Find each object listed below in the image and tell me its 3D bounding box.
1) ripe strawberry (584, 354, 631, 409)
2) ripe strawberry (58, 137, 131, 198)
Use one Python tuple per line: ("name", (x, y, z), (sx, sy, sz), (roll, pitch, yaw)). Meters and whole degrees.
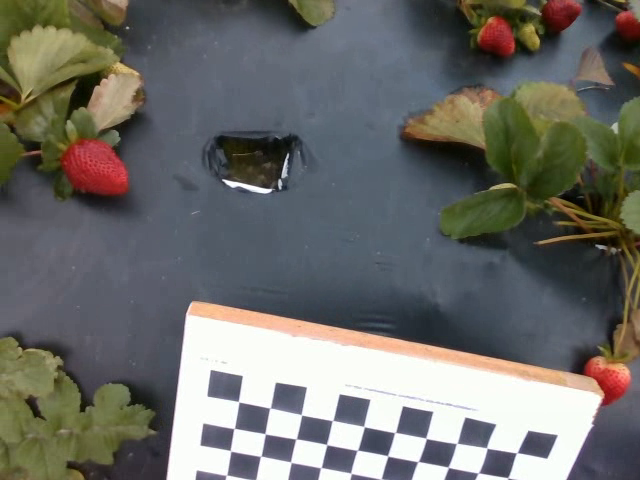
("ripe strawberry", (0.217, 0.108, 0.476), (0.036, 0.041, 0.027), (14, 3, 6))
("ripe strawberry", (-0.169, -0.051, 0.482), (0.064, 0.046, 0.048), (32, 30, 24))
